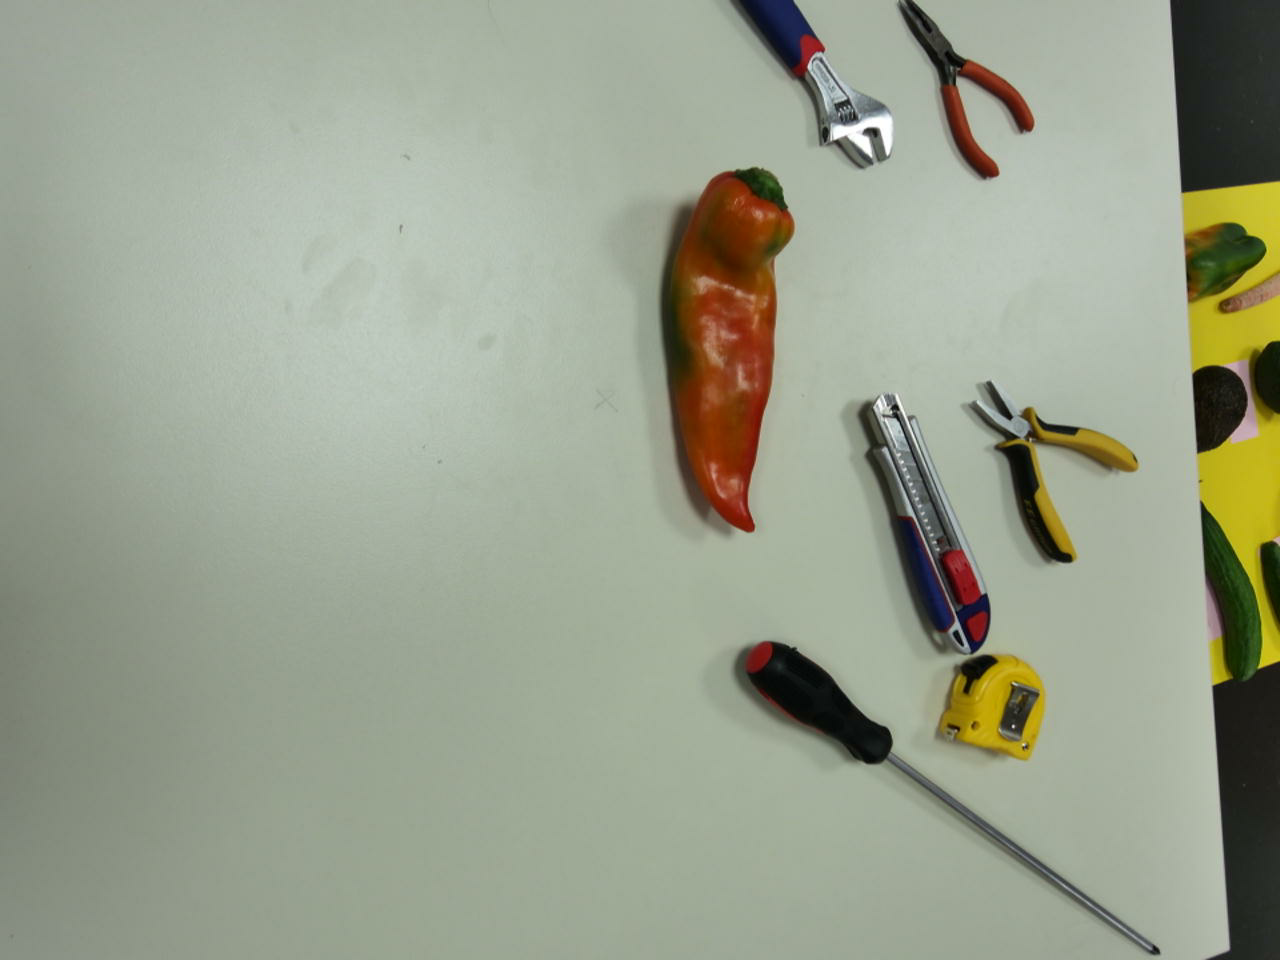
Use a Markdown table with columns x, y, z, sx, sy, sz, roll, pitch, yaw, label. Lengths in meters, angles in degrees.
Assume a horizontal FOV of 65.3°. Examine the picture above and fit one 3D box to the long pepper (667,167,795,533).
| x | y | z | sx | sy | sz | roll | pitch | yaw | label |
| --- | --- | --- | --- | --- | --- | --- | --- | --- | --- |
| 0.055 | -0.070 | 0.555 | 0.066 | 0.065 | 0.199 | 0 | 91 | -22 | long pepper |
